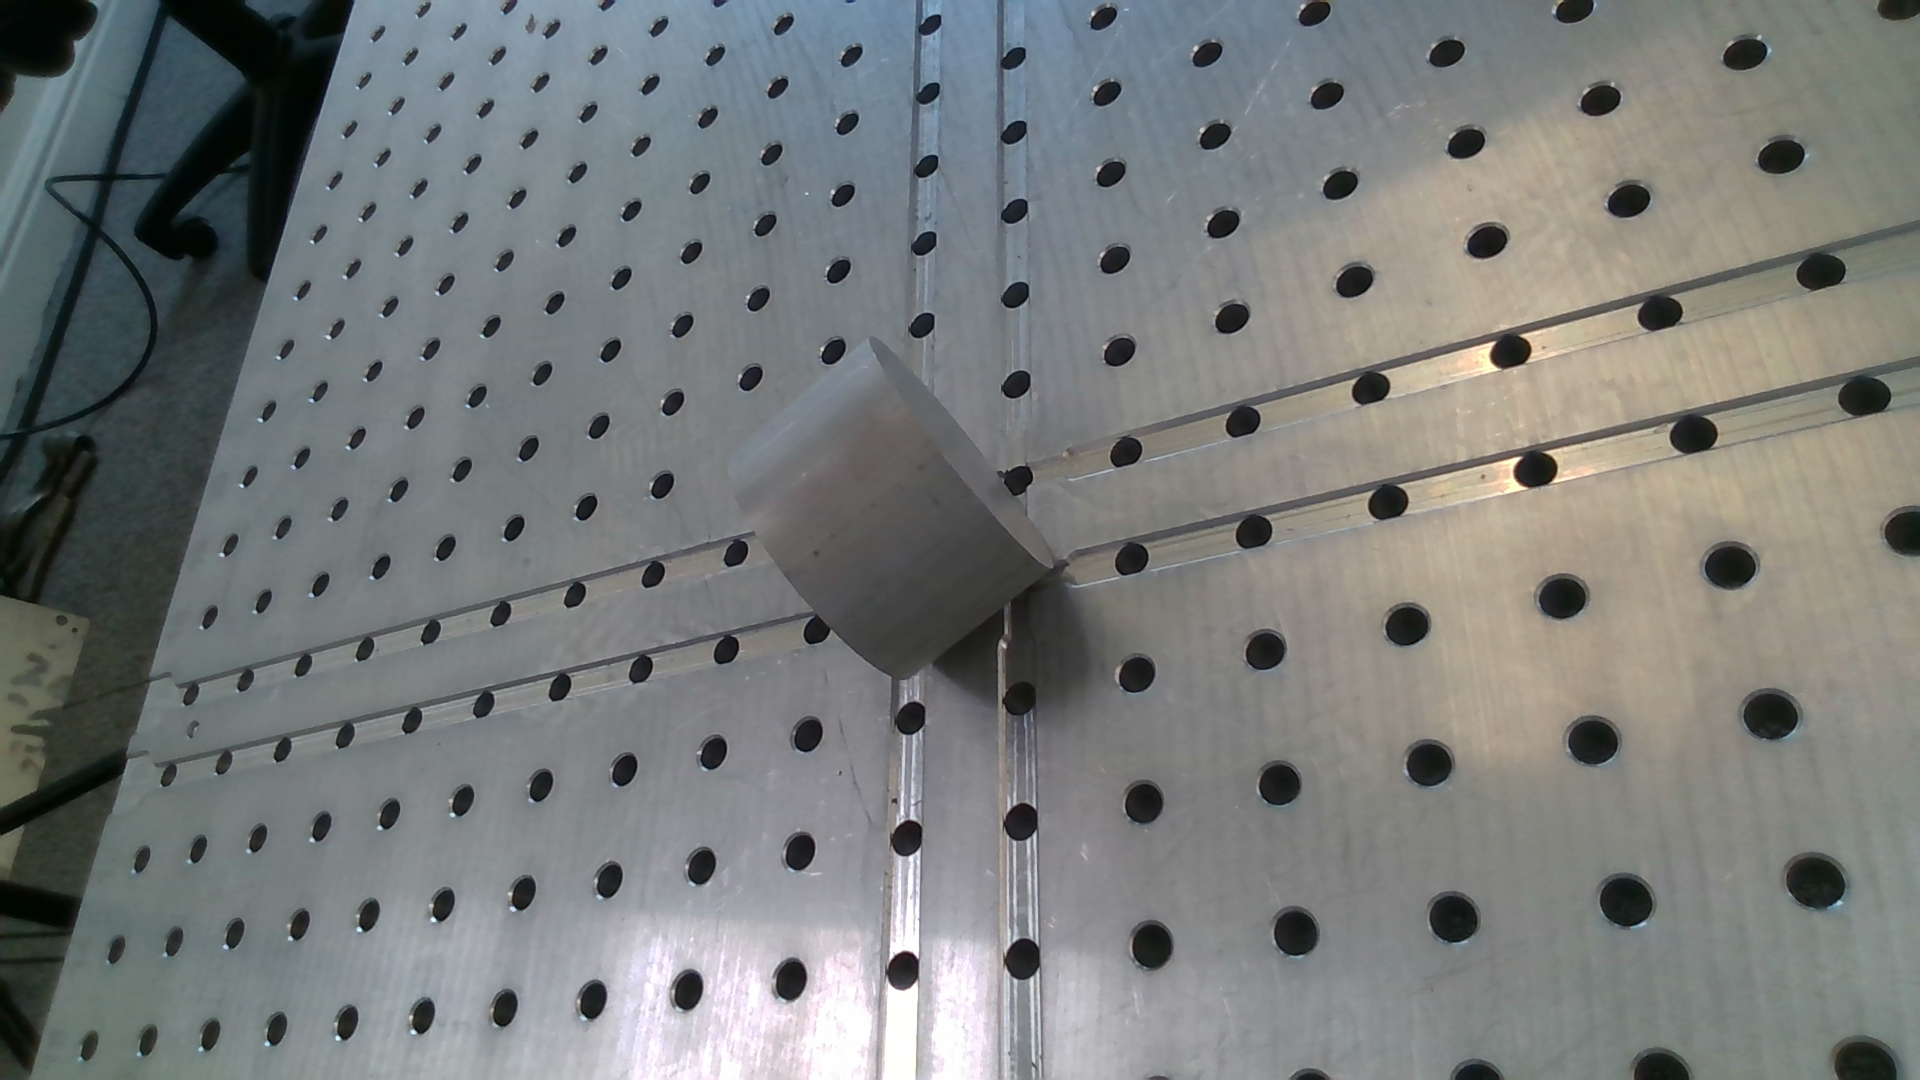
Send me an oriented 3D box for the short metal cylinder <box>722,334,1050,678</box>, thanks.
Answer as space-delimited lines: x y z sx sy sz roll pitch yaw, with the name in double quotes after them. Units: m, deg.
-0.019 -0.009 0.376 0.050 0.080 0.080 -38 52 8 "short metal cylinder"
